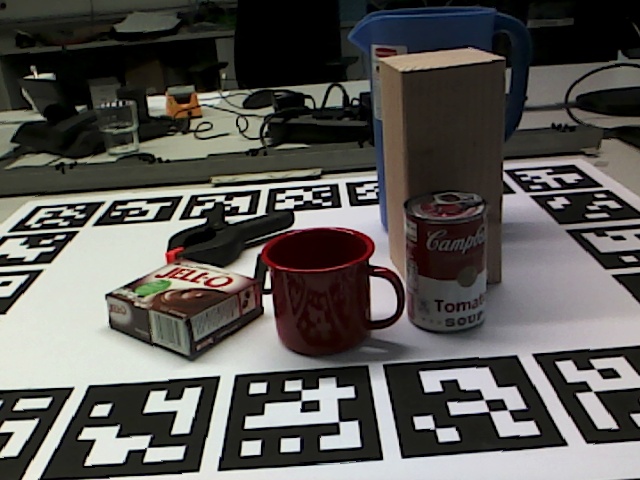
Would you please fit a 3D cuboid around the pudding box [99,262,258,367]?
[{"bbox_3d":[-0.127,0.064,0.562,0.114,0.038,0.089,12,33,34],"label":"pudding box"}]

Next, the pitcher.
[{"bbox_3d":[0.131,-0.131,0.684,0.189,0.242,0.133,-8,22,1],"label":"pitcher"}]

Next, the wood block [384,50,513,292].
[{"bbox_3d":[0.113,-0.065,0.580,0.090,0.206,0.091,-4,24,-4],"label":"wood block"}]

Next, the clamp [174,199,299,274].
[{"bbox_3d":[-0.112,0.000,0.711,0.122,0.036,0.164,14,31,23],"label":"clamp"}]

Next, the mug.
[{"bbox_3d":[0.013,0.049,0.507,0.118,0.081,0.093,10,26,33],"label":"mug"}]

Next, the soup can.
[{"bbox_3d":[0.104,0.021,0.520,0.068,0.102,0.068,-5,27,2],"label":"soup can"}]
